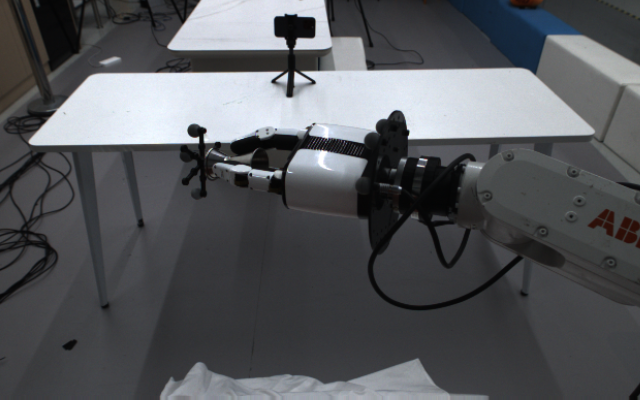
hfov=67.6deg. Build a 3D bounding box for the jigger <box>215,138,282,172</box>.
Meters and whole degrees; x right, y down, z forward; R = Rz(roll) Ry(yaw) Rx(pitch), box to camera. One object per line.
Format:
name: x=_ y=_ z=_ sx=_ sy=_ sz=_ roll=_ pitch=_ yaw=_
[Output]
jigger: x=-0.097 y=-0.046 z=0.600 sx=0.071 sy=0.043 sz=0.043 roll=5 pitch=33 yaw=22
